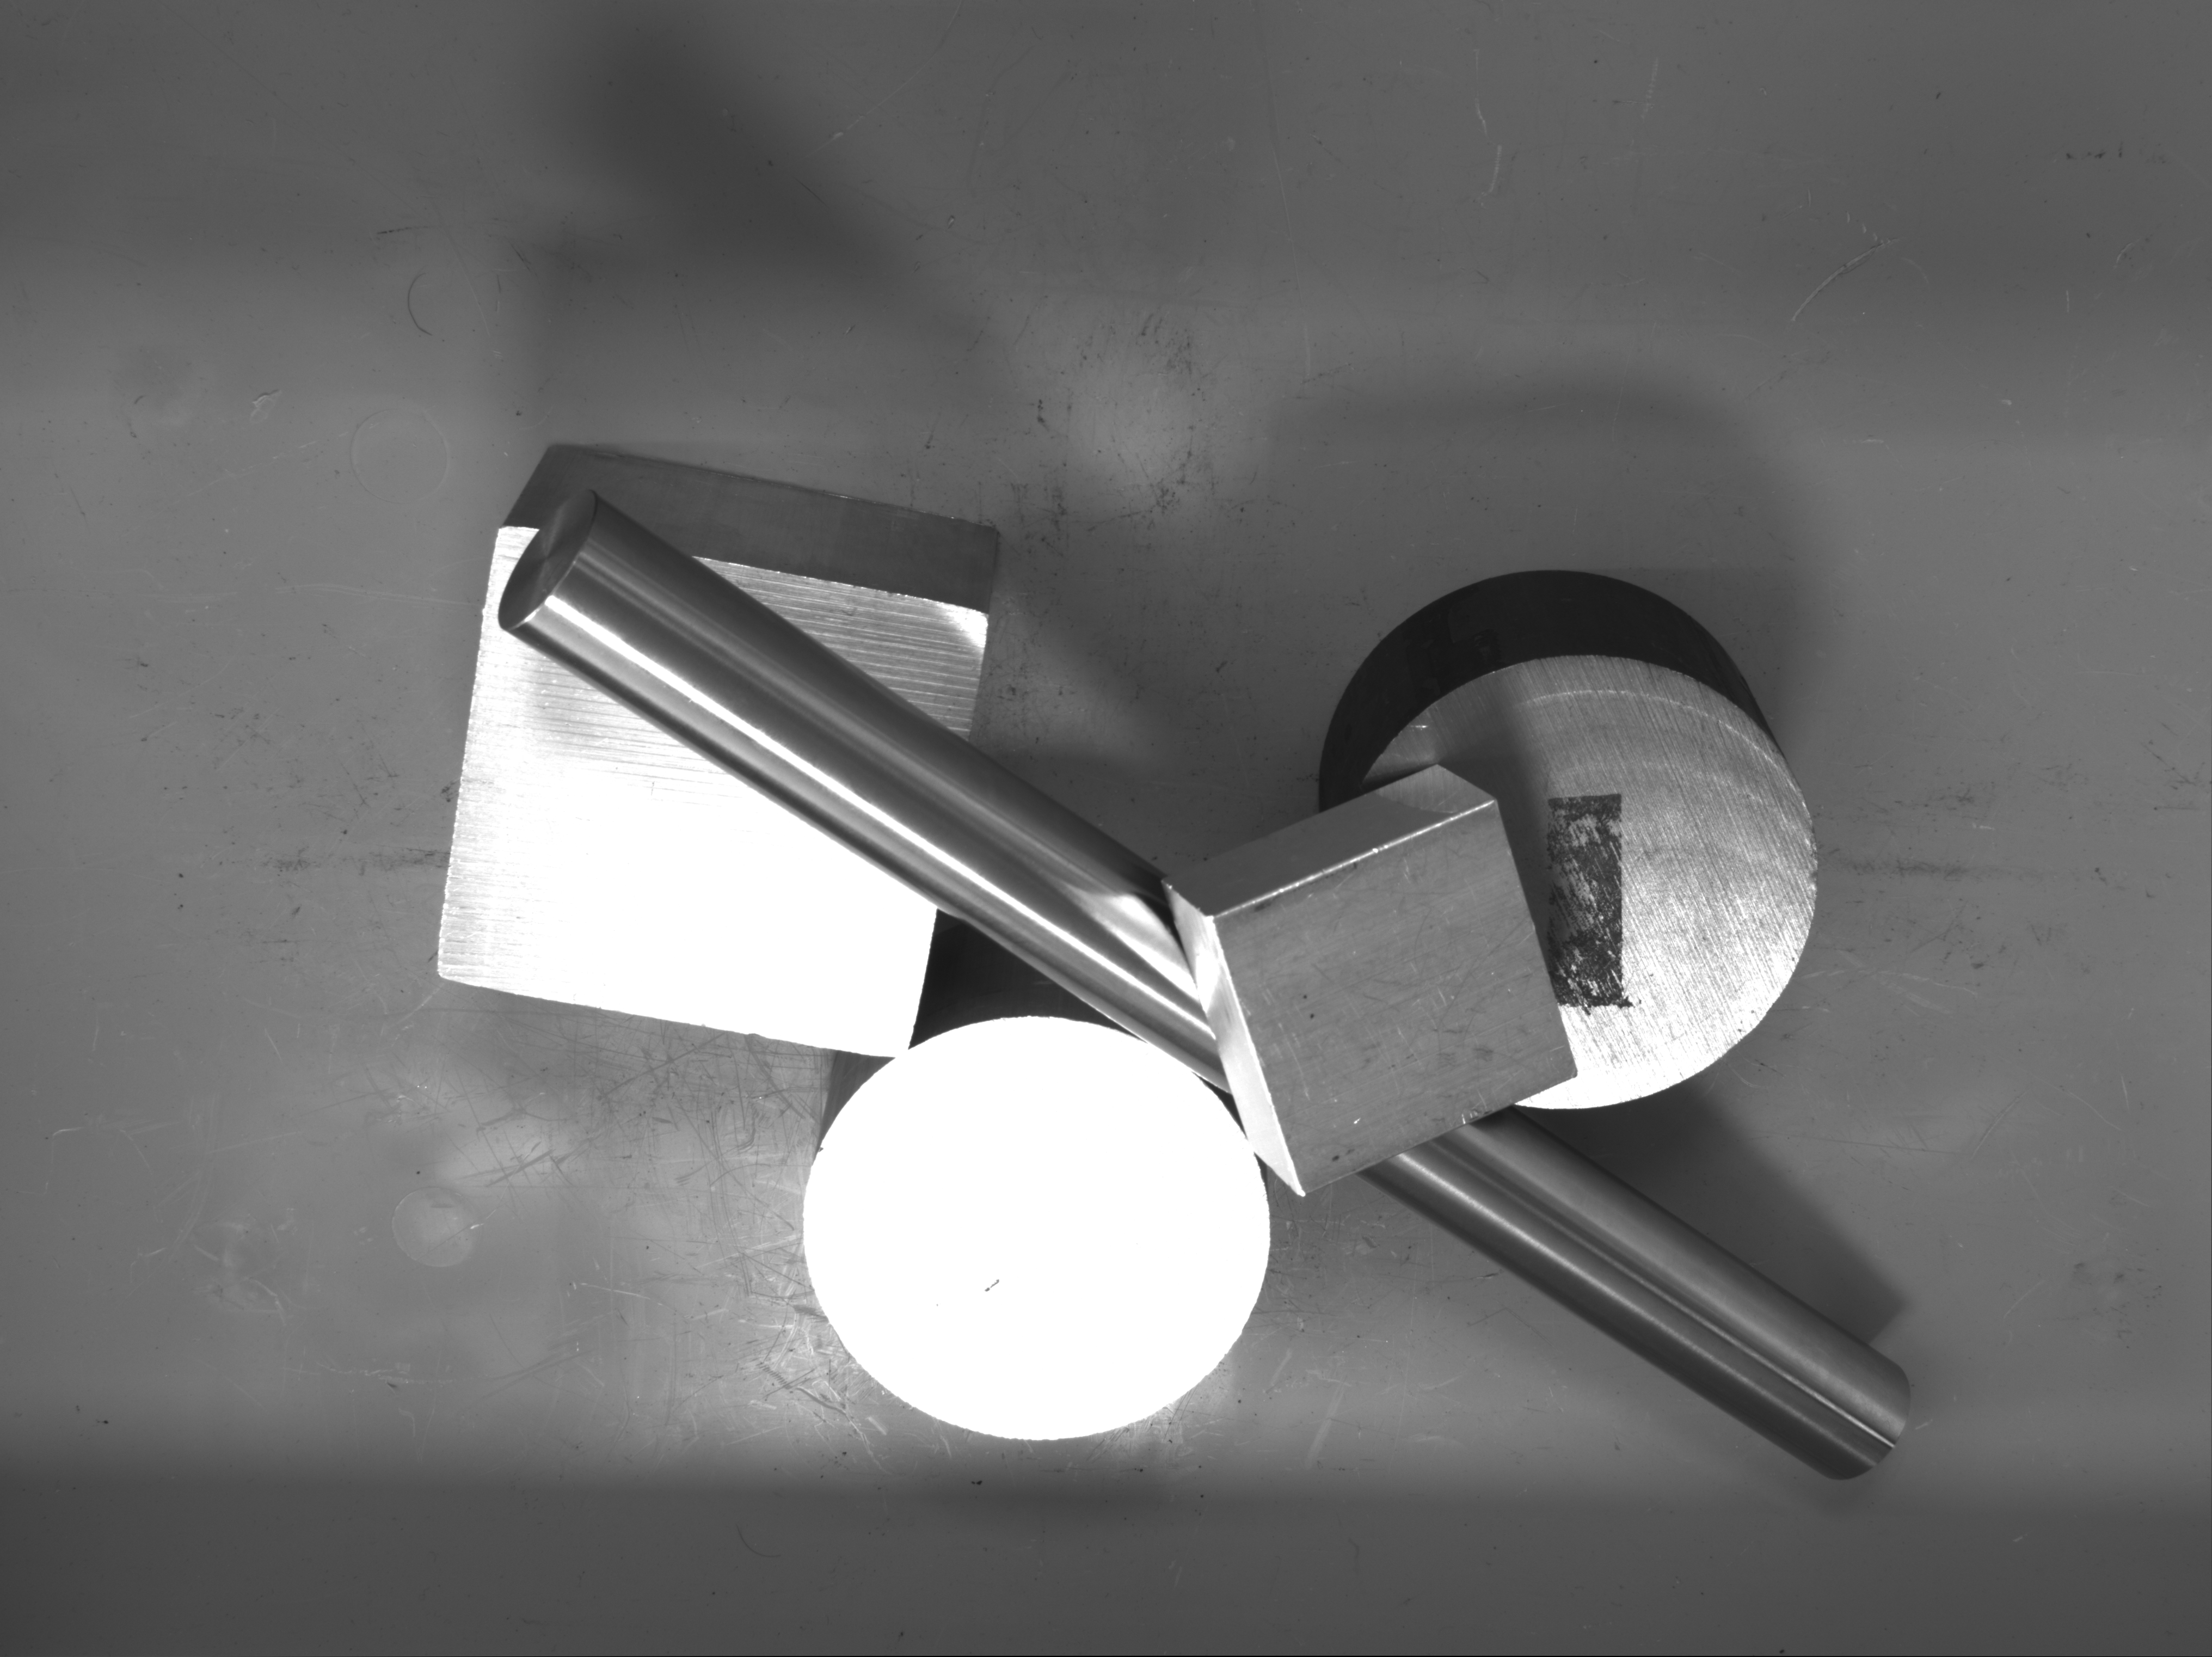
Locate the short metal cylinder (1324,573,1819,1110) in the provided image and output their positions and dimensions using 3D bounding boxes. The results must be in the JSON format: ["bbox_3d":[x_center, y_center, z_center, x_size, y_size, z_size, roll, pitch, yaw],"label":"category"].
[{"bbox_3d":[0.078,0.001,0.630,0.080,0.050,0.080,0,110,0],"label":"short metal cylinder"}]

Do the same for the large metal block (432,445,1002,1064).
[{"bbox_3d":[-0.065,-0.013,0.623,0.080,0.050,0.080,10,110,-4],"label":"large metal block"}]

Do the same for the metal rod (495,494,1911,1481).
[{"bbox_3d":[0.028,0.035,0.618,0.301,0.025,0.025,34,107,-26],"label":"metal rod"}]

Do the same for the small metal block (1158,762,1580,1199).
[{"bbox_3d":[0.042,0.024,0.591,0.050,0.025,0.050,-23,109,-11],"label":"small metal block"}]

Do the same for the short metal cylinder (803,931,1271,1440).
[{"bbox_3d":[-0.012,0.061,0.652,0.080,0.050,0.080,0,110,0],"label":"short metal cylinder"}]
